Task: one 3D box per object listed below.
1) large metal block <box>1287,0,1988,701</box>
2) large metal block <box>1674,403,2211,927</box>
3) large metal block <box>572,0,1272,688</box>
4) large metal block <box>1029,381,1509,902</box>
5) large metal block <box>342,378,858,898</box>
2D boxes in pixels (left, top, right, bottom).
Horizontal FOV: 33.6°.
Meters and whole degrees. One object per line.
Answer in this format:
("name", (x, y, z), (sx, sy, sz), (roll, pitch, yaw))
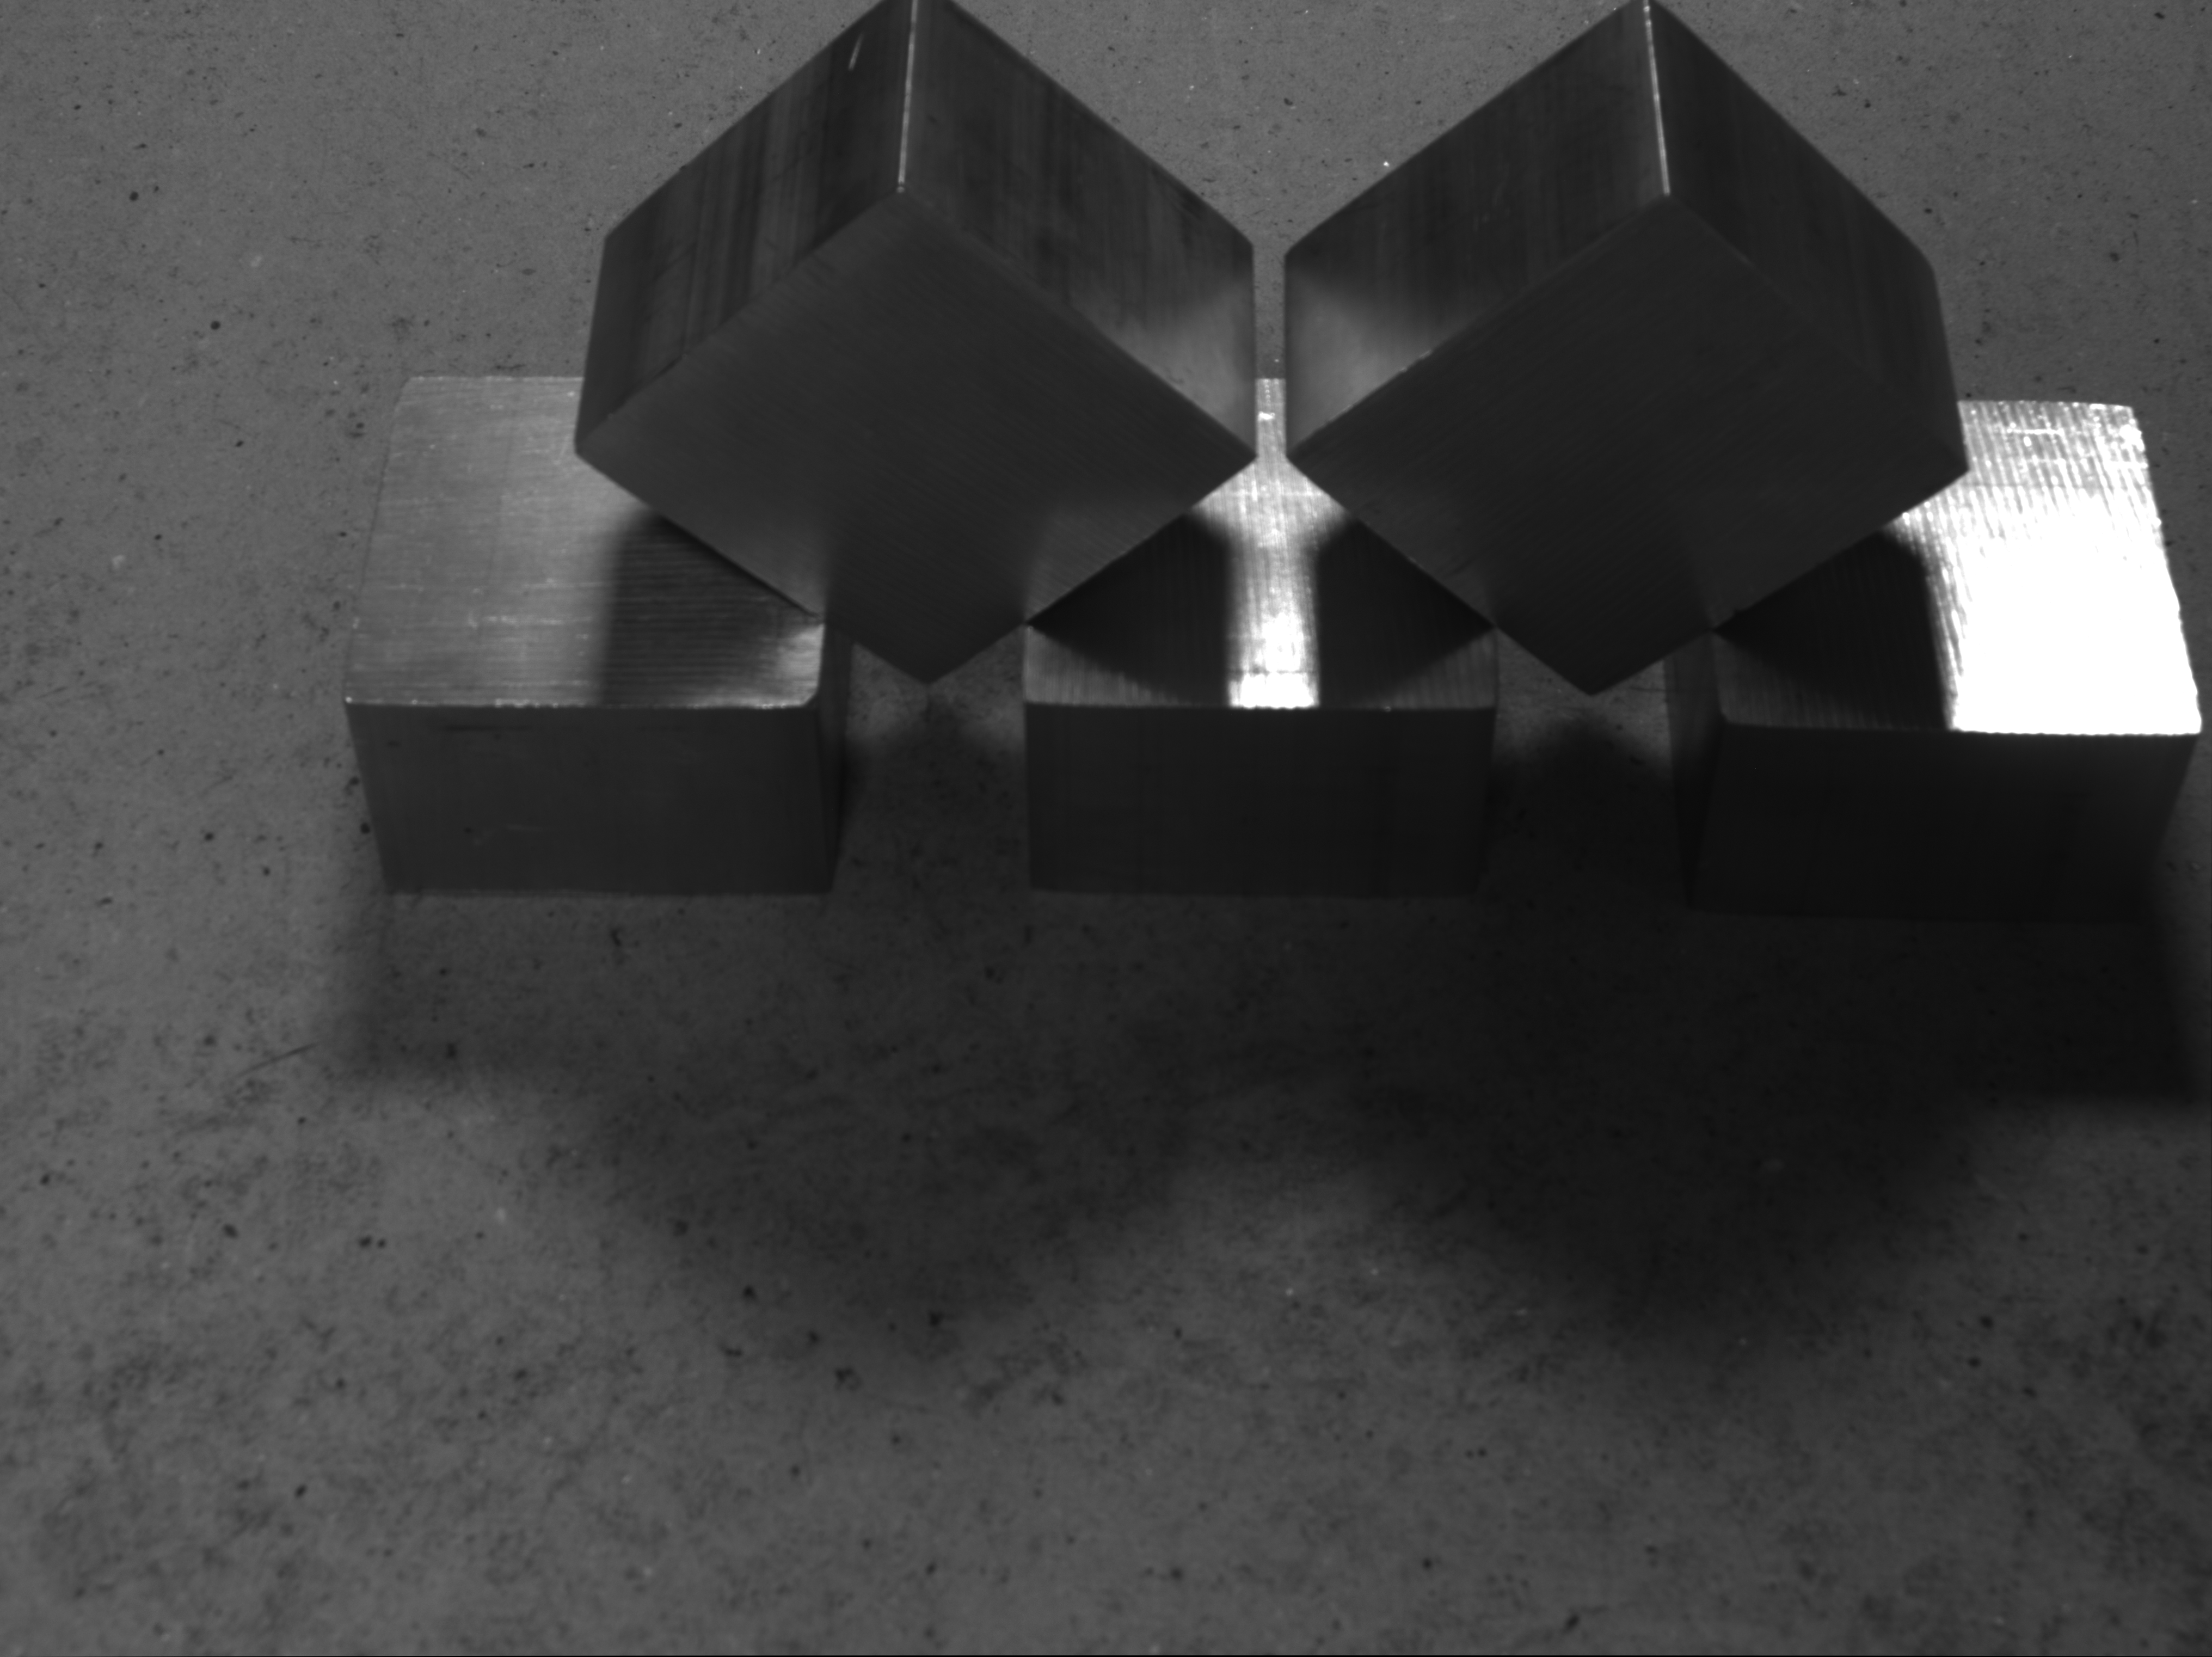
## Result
("large metal block", (0.087, -0.078, 0.610), (0.080, 0.080, 0.050), (-32, 39, 33))
("large metal block", (0.145, -0.030, 0.652), (0.080, 0.050, 0.080), (1, 50, 1))
("large metal block", (-0.030, -0.080, 0.608), (0.080, 0.080, 0.050), (32, 40, -33))
("large metal block", (0.028, -0.034, 0.655), (0.080, 0.050, 0.080), (1, 50, 1))
("large metal block", (-0.087, -0.035, 0.655), (0.080, 0.050, 0.080), (0, 50, 0))
